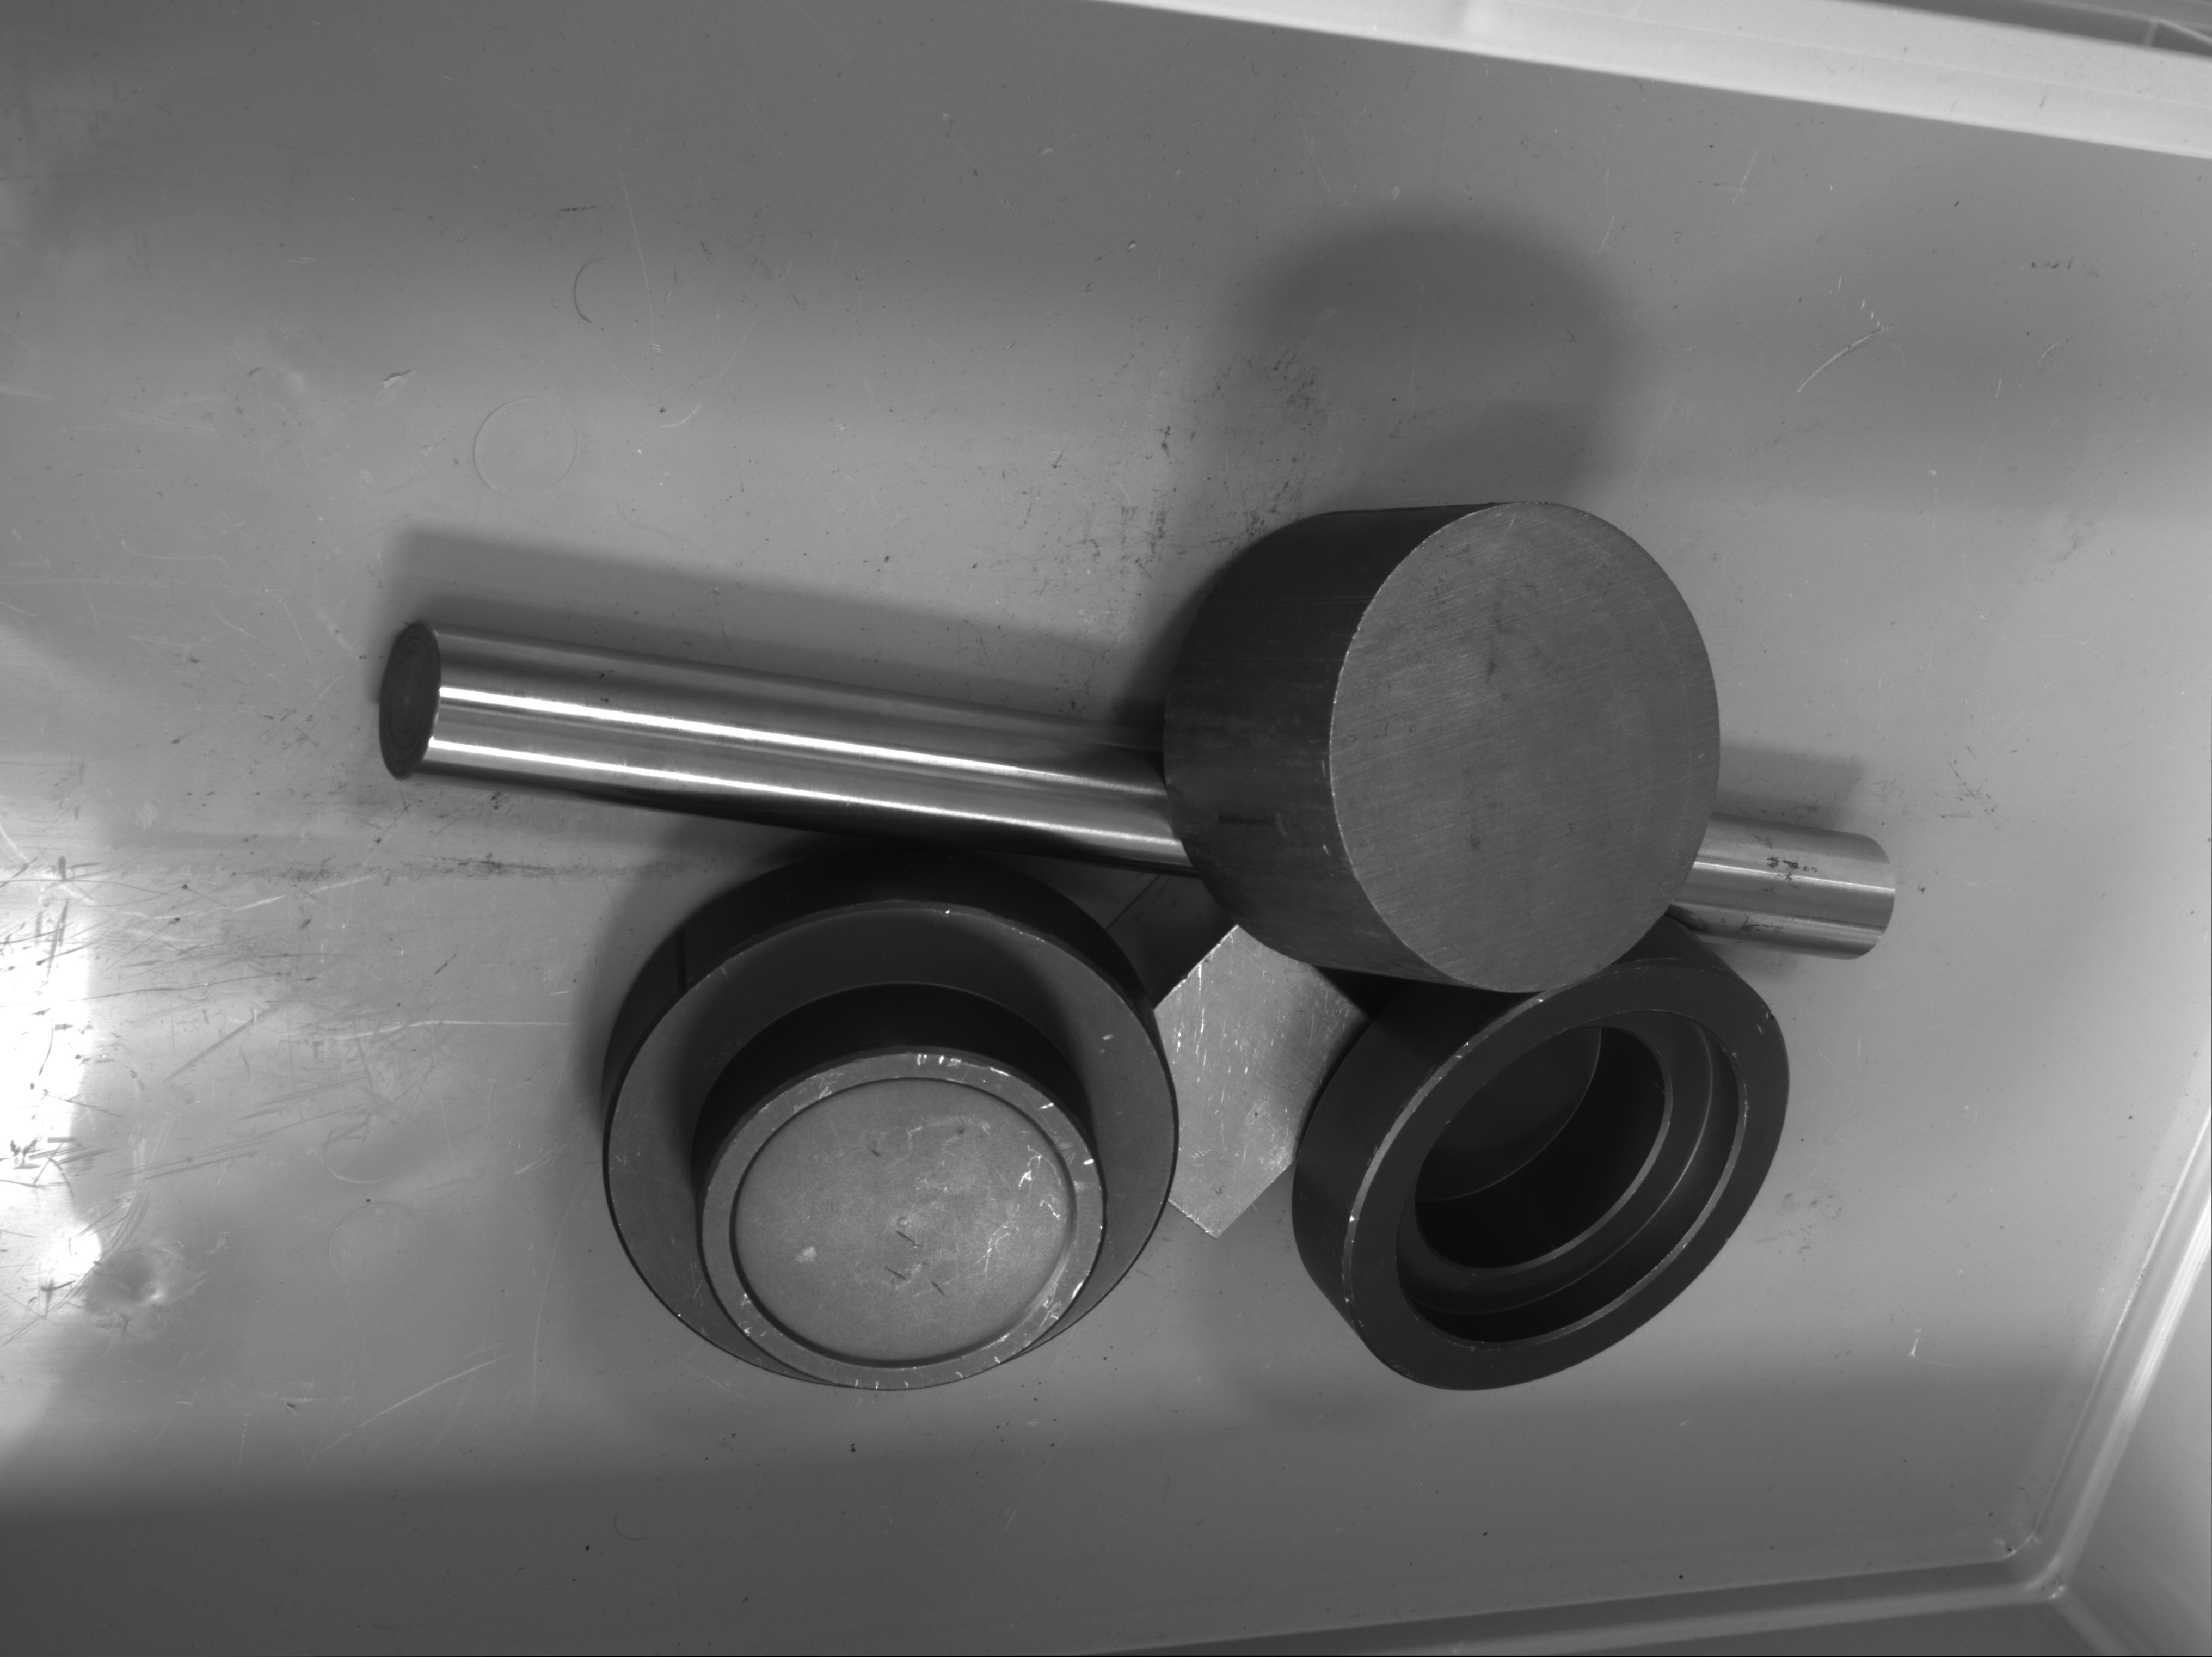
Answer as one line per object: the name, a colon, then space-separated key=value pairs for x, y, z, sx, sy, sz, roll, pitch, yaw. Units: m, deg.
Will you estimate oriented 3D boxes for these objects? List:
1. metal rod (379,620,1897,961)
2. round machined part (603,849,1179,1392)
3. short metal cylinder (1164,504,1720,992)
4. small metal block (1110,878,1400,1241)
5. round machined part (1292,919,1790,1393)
metal rod: x=0.020 y=-0.003 z=0.645 sx=0.301 sy=0.025 sz=0.025 roll=7 pitch=114 yaw=-31
round machined part: x=-0.036 y=0.056 z=0.623 sx=0.098 sy=0.042 sz=0.098 roll=-3 pitch=118 yaw=-6
short metal cylinder: x=0.057 y=-0.014 z=0.623 sx=0.080 sy=0.050 sz=0.080 roll=-2 pitch=94 yaw=-31
small metal block: x=0.018 y=0.039 z=0.669 sx=0.050 sy=0.025 sz=0.050 roll=-45 pitch=129 yaw=3
round machined part: x=0.078 y=0.056 z=0.698 sx=0.098 sy=0.042 sz=0.098 roll=-16 pitch=128 yaw=-22
